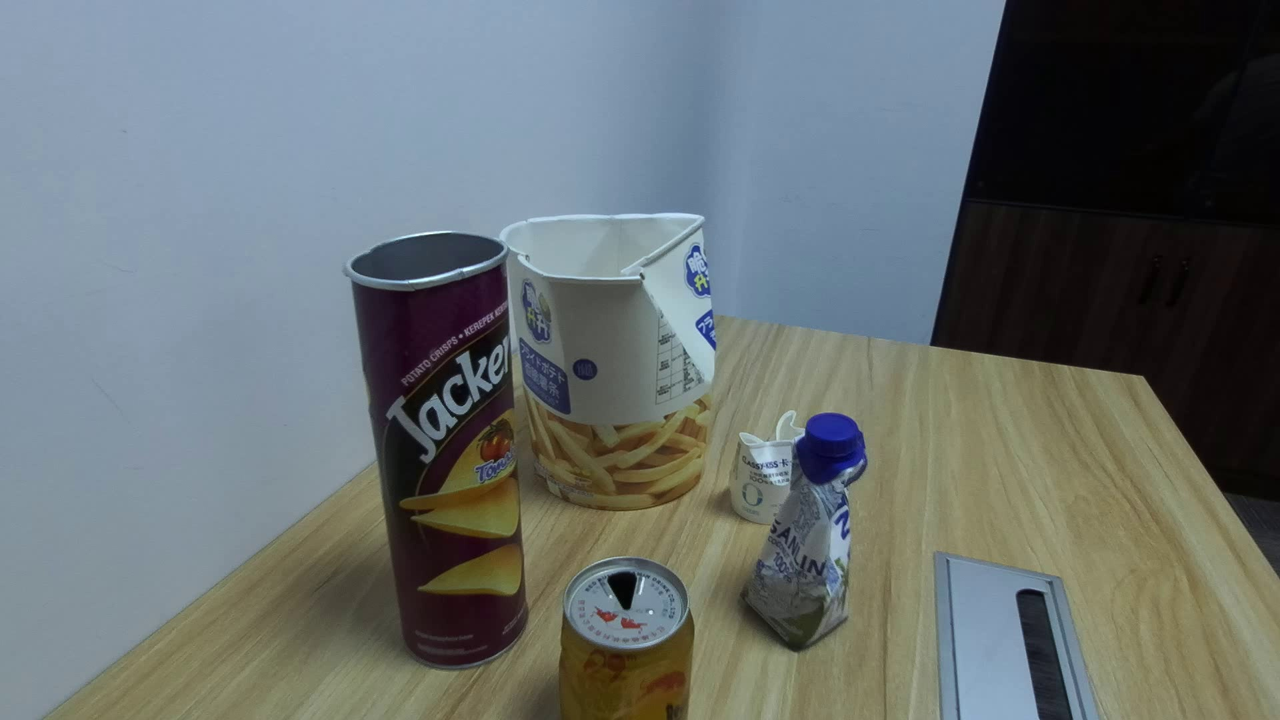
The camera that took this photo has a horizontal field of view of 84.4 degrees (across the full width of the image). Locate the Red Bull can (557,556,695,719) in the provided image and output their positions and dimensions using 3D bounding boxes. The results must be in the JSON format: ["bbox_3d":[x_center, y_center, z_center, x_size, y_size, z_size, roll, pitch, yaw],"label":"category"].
[{"bbox_3d":[-0.007,0.154,0.350,0.068,0.093,0.068,2,23,0],"label":"Red Bull can"}]

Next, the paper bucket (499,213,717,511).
[{"bbox_3d":[-0.014,0.002,0.554,0.169,0.202,0.162,-5,28,-8],"label":"paper bucket"}]

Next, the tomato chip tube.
[{"bbox_3d":[-0.103,0.055,0.390,0.080,0.234,0.076,-16,30,-32],"label":"tomato chip tube"}]

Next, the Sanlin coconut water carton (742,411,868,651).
[{"bbox_3d":[0.112,0.099,0.420,0.069,0.144,0.056,-8,32,-39],"label":"Sanlin coconut water carton"}]
